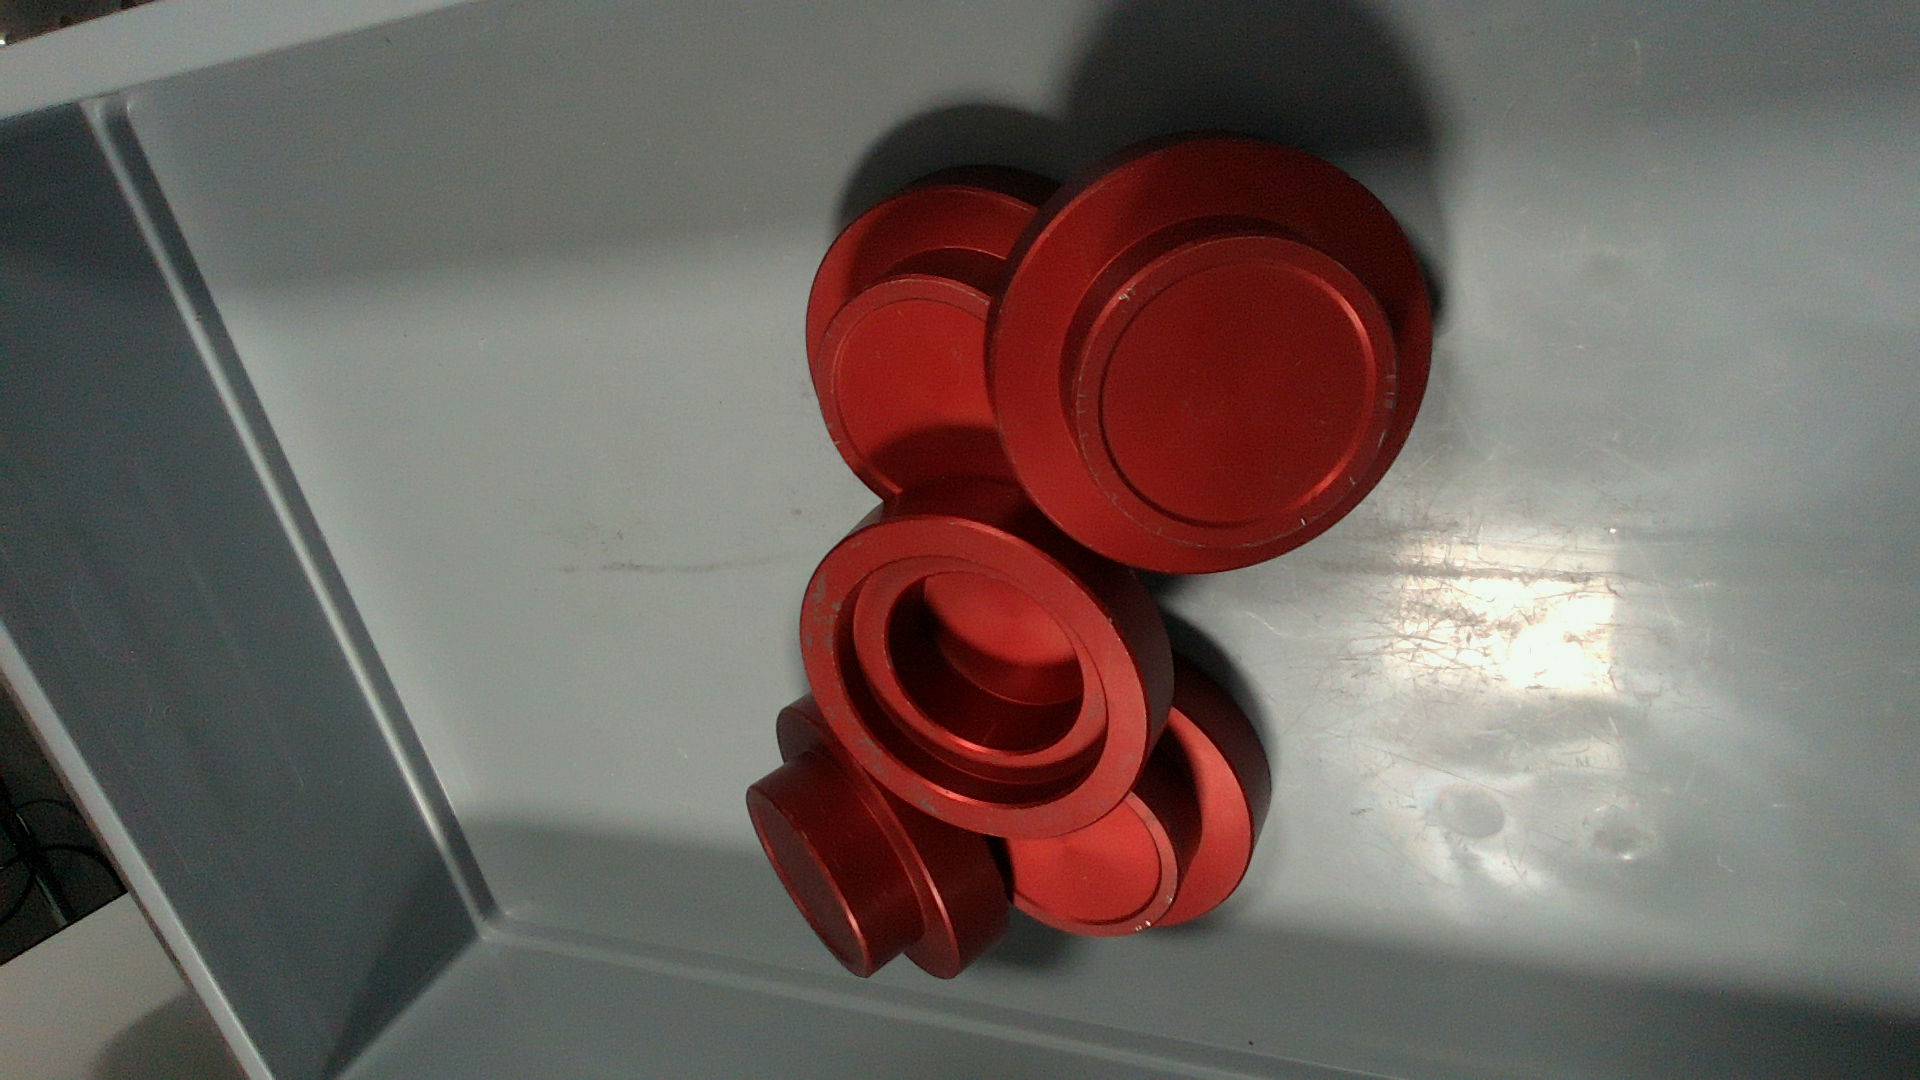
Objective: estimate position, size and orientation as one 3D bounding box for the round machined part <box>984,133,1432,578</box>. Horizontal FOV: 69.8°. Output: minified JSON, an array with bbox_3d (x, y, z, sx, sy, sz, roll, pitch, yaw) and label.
[{"bbox_3d":[0.056,-0.036,0.301,0.098,0.042,0.098,-2,112,-4],"label":"round machined part"}]

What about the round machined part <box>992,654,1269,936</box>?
[{"bbox_3d":[0.038,0.077,0.408,0.098,0.042,0.098,13,124,21],"label":"round machined part"}]

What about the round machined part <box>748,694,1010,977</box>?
[{"bbox_3d":[-0.031,0.095,0.429,0.098,0.042,0.098,43,152,31],"label":"round machined part"}]

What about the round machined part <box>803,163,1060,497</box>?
[{"bbox_3d":[0.002,-0.042,0.353,0.098,0.042,0.098,13,124,21],"label":"round machined part"}]

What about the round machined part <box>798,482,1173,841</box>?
[{"bbox_3d":[0.010,0.028,0.364,0.098,0.042,0.098,13,124,21],"label":"round machined part"}]
